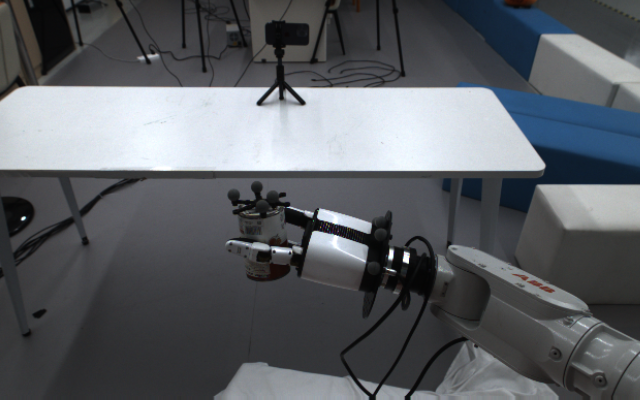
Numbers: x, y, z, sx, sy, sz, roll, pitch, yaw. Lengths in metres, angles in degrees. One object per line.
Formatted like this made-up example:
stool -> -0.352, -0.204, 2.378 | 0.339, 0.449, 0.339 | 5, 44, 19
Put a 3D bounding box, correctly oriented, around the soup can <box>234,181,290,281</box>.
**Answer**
soup can -> -0.078, 0.058, 0.693 | 0.067, 0.101, 0.067 | -4, 21, 1
